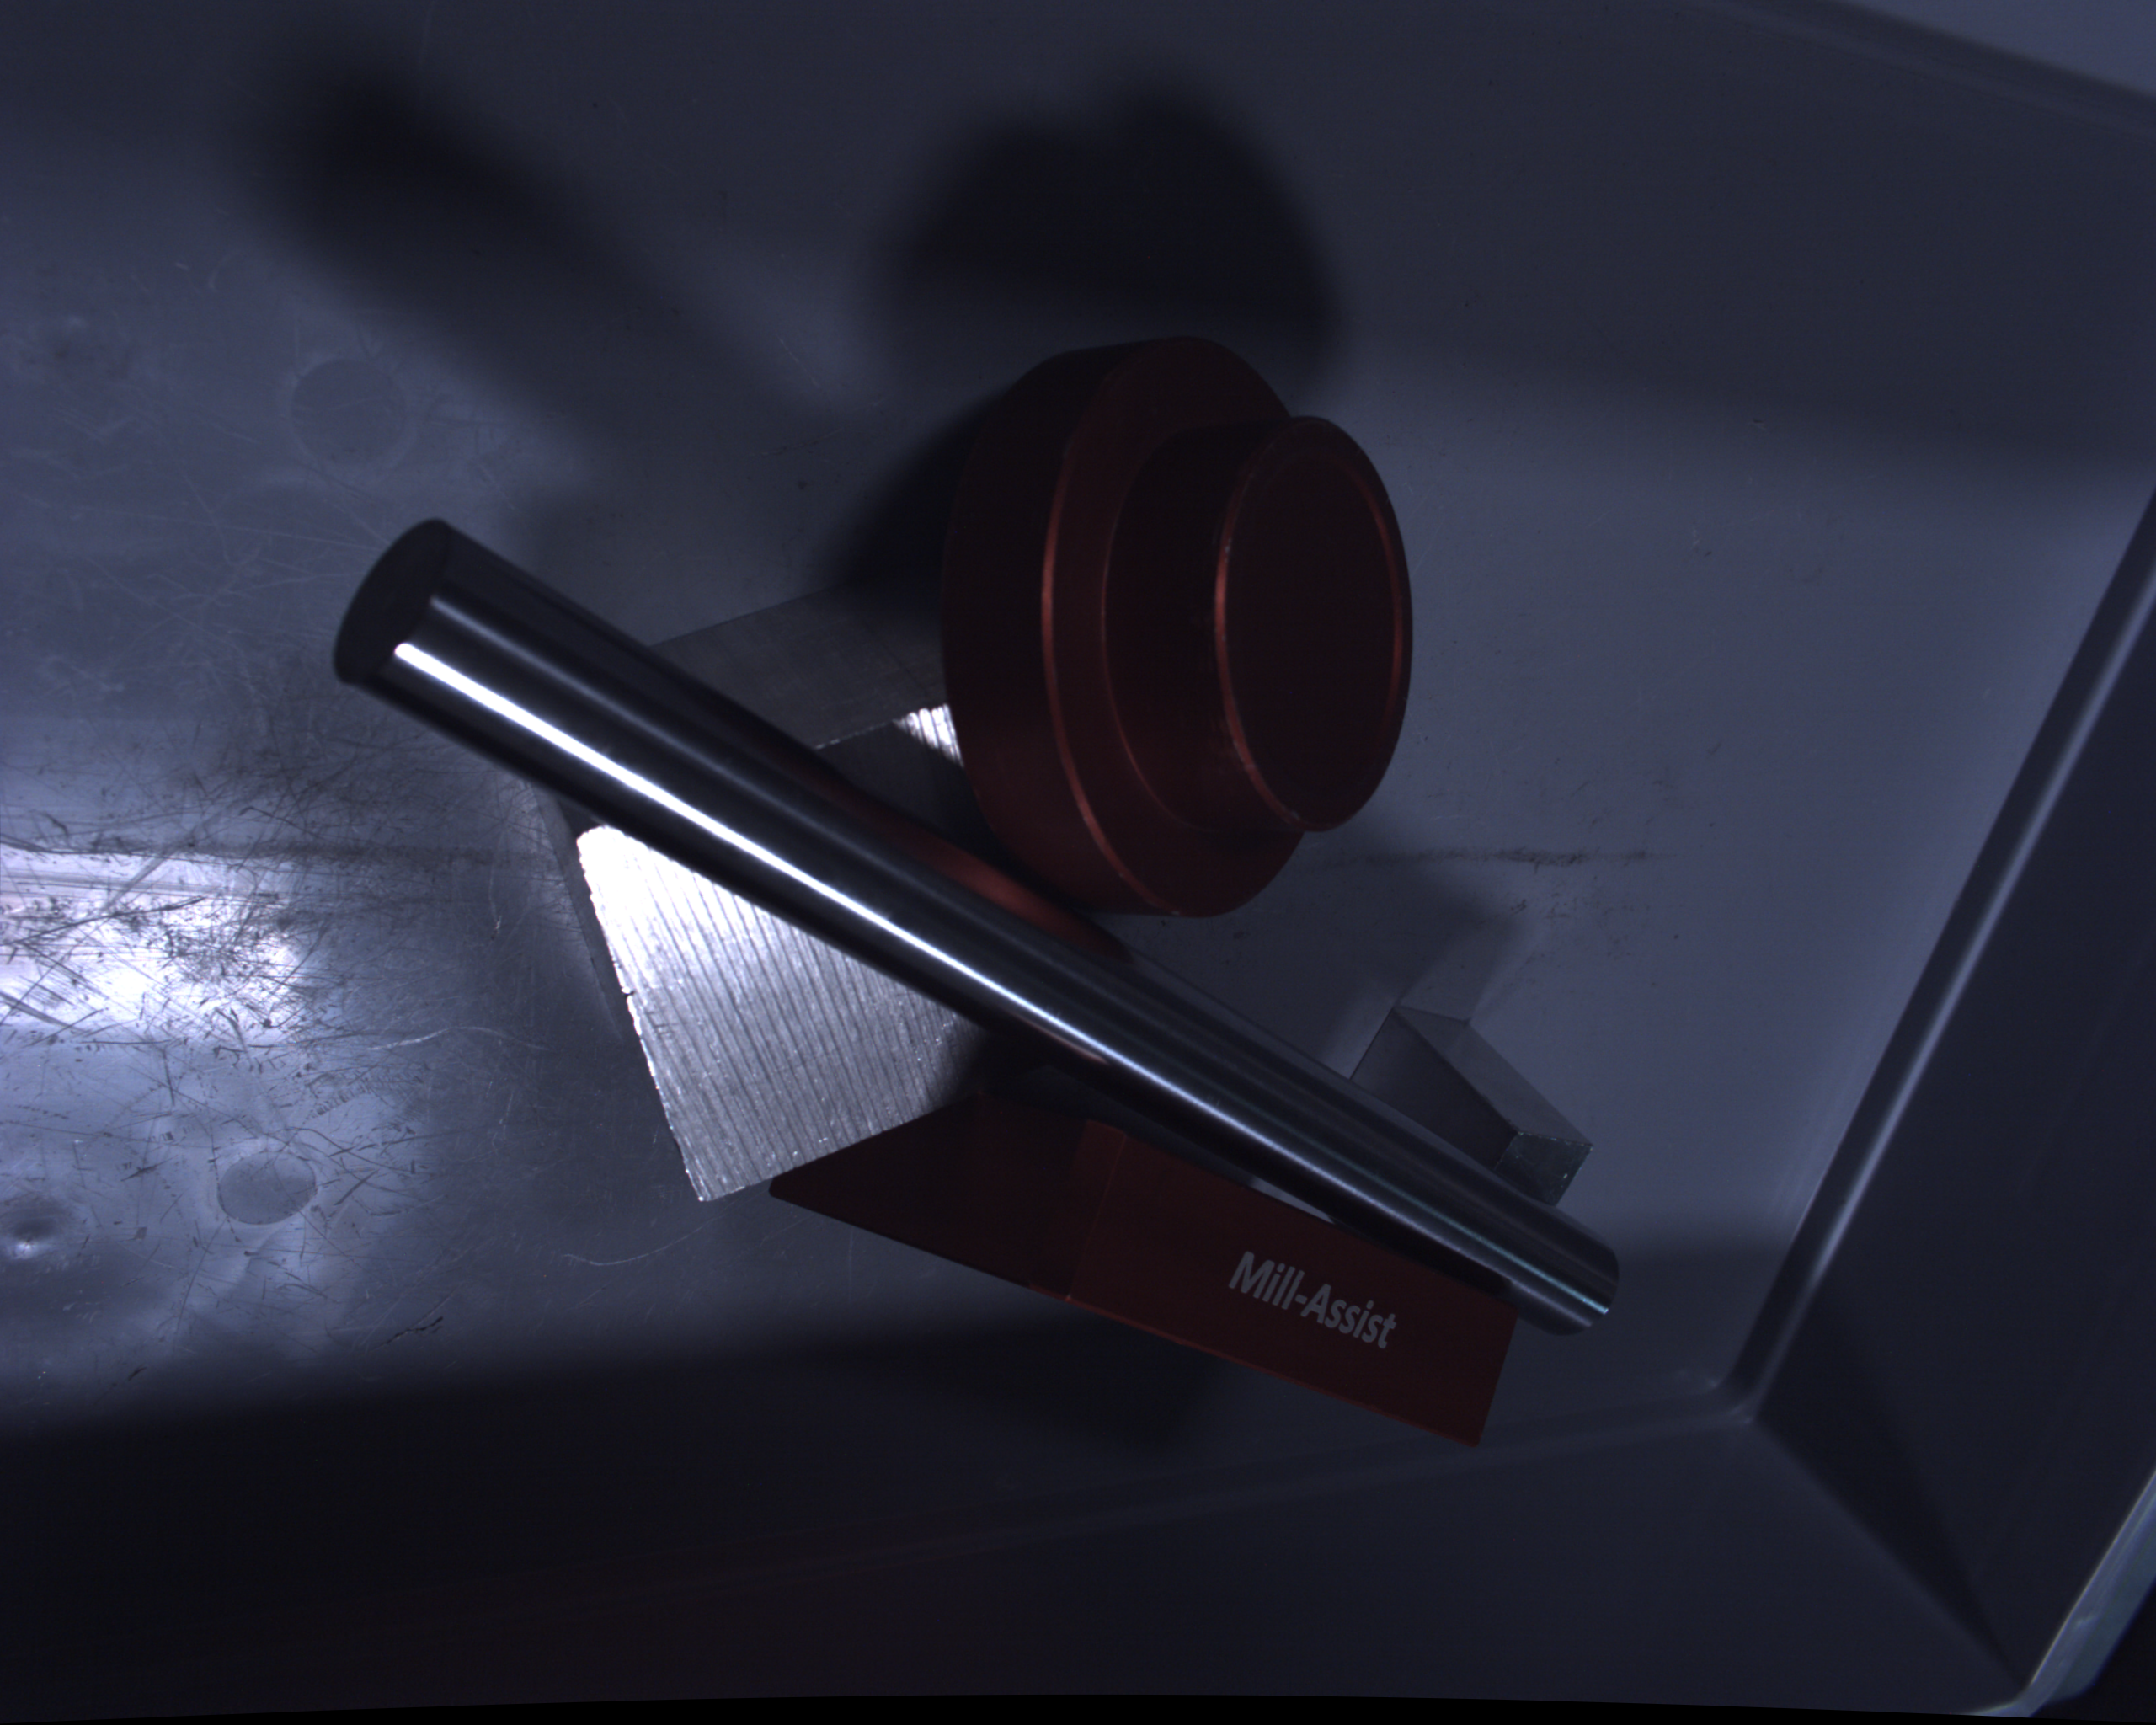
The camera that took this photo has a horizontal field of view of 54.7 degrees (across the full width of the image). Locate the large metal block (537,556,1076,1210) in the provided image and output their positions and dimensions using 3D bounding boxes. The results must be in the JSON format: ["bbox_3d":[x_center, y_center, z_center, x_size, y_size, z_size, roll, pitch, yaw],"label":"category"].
[{"bbox_3d":[-0.046,0.002,0.368,0.081,0.050,0.079,-21,127,-17],"label":"large metal block"}]

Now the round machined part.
[{"bbox_3d":[0.023,-0.039,0.352,0.099,0.042,0.097,-2,93,-57],"label":"round machined part"}]

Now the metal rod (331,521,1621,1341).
[{"bbox_3d":[0.009,0.030,0.365,0.301,0.025,0.025,33,100,-39],"label":"metal rod"}]

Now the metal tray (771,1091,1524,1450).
[{"bbox_3d":[0.016,0.079,0.419,0.131,0.090,0.030,29,75,-39],"label":"metal tray"}]

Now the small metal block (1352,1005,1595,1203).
[{"bbox_3d":[0.083,0.069,0.481,0.025,0.050,0.050,16,110,-35],"label":"small metal block"}]
